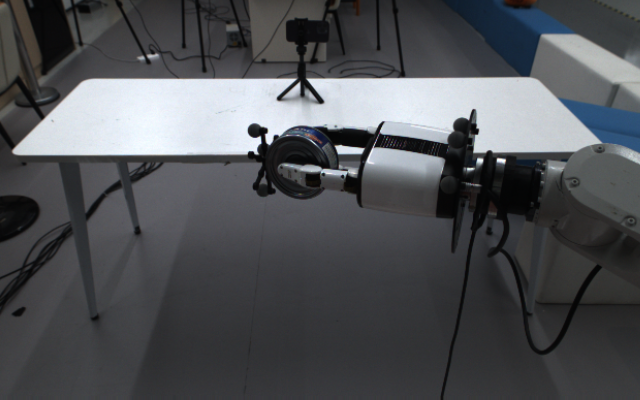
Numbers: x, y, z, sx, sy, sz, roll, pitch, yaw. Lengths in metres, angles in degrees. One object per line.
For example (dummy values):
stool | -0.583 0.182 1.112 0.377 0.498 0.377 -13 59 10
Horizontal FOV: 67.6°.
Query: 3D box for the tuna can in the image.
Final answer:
tuna can | -0.019 -0.043 0.588 0.085 0.085 0.034 12 28 14
